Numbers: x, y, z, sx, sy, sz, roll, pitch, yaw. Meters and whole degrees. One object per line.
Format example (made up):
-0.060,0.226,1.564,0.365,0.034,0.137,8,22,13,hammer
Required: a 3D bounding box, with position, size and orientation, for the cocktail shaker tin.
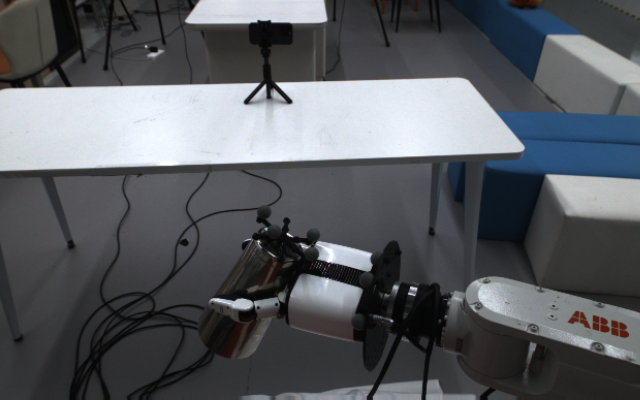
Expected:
-0.088,0.116,0.640,0.093,0.170,0.093,25,29,-15,cocktail shaker tin
